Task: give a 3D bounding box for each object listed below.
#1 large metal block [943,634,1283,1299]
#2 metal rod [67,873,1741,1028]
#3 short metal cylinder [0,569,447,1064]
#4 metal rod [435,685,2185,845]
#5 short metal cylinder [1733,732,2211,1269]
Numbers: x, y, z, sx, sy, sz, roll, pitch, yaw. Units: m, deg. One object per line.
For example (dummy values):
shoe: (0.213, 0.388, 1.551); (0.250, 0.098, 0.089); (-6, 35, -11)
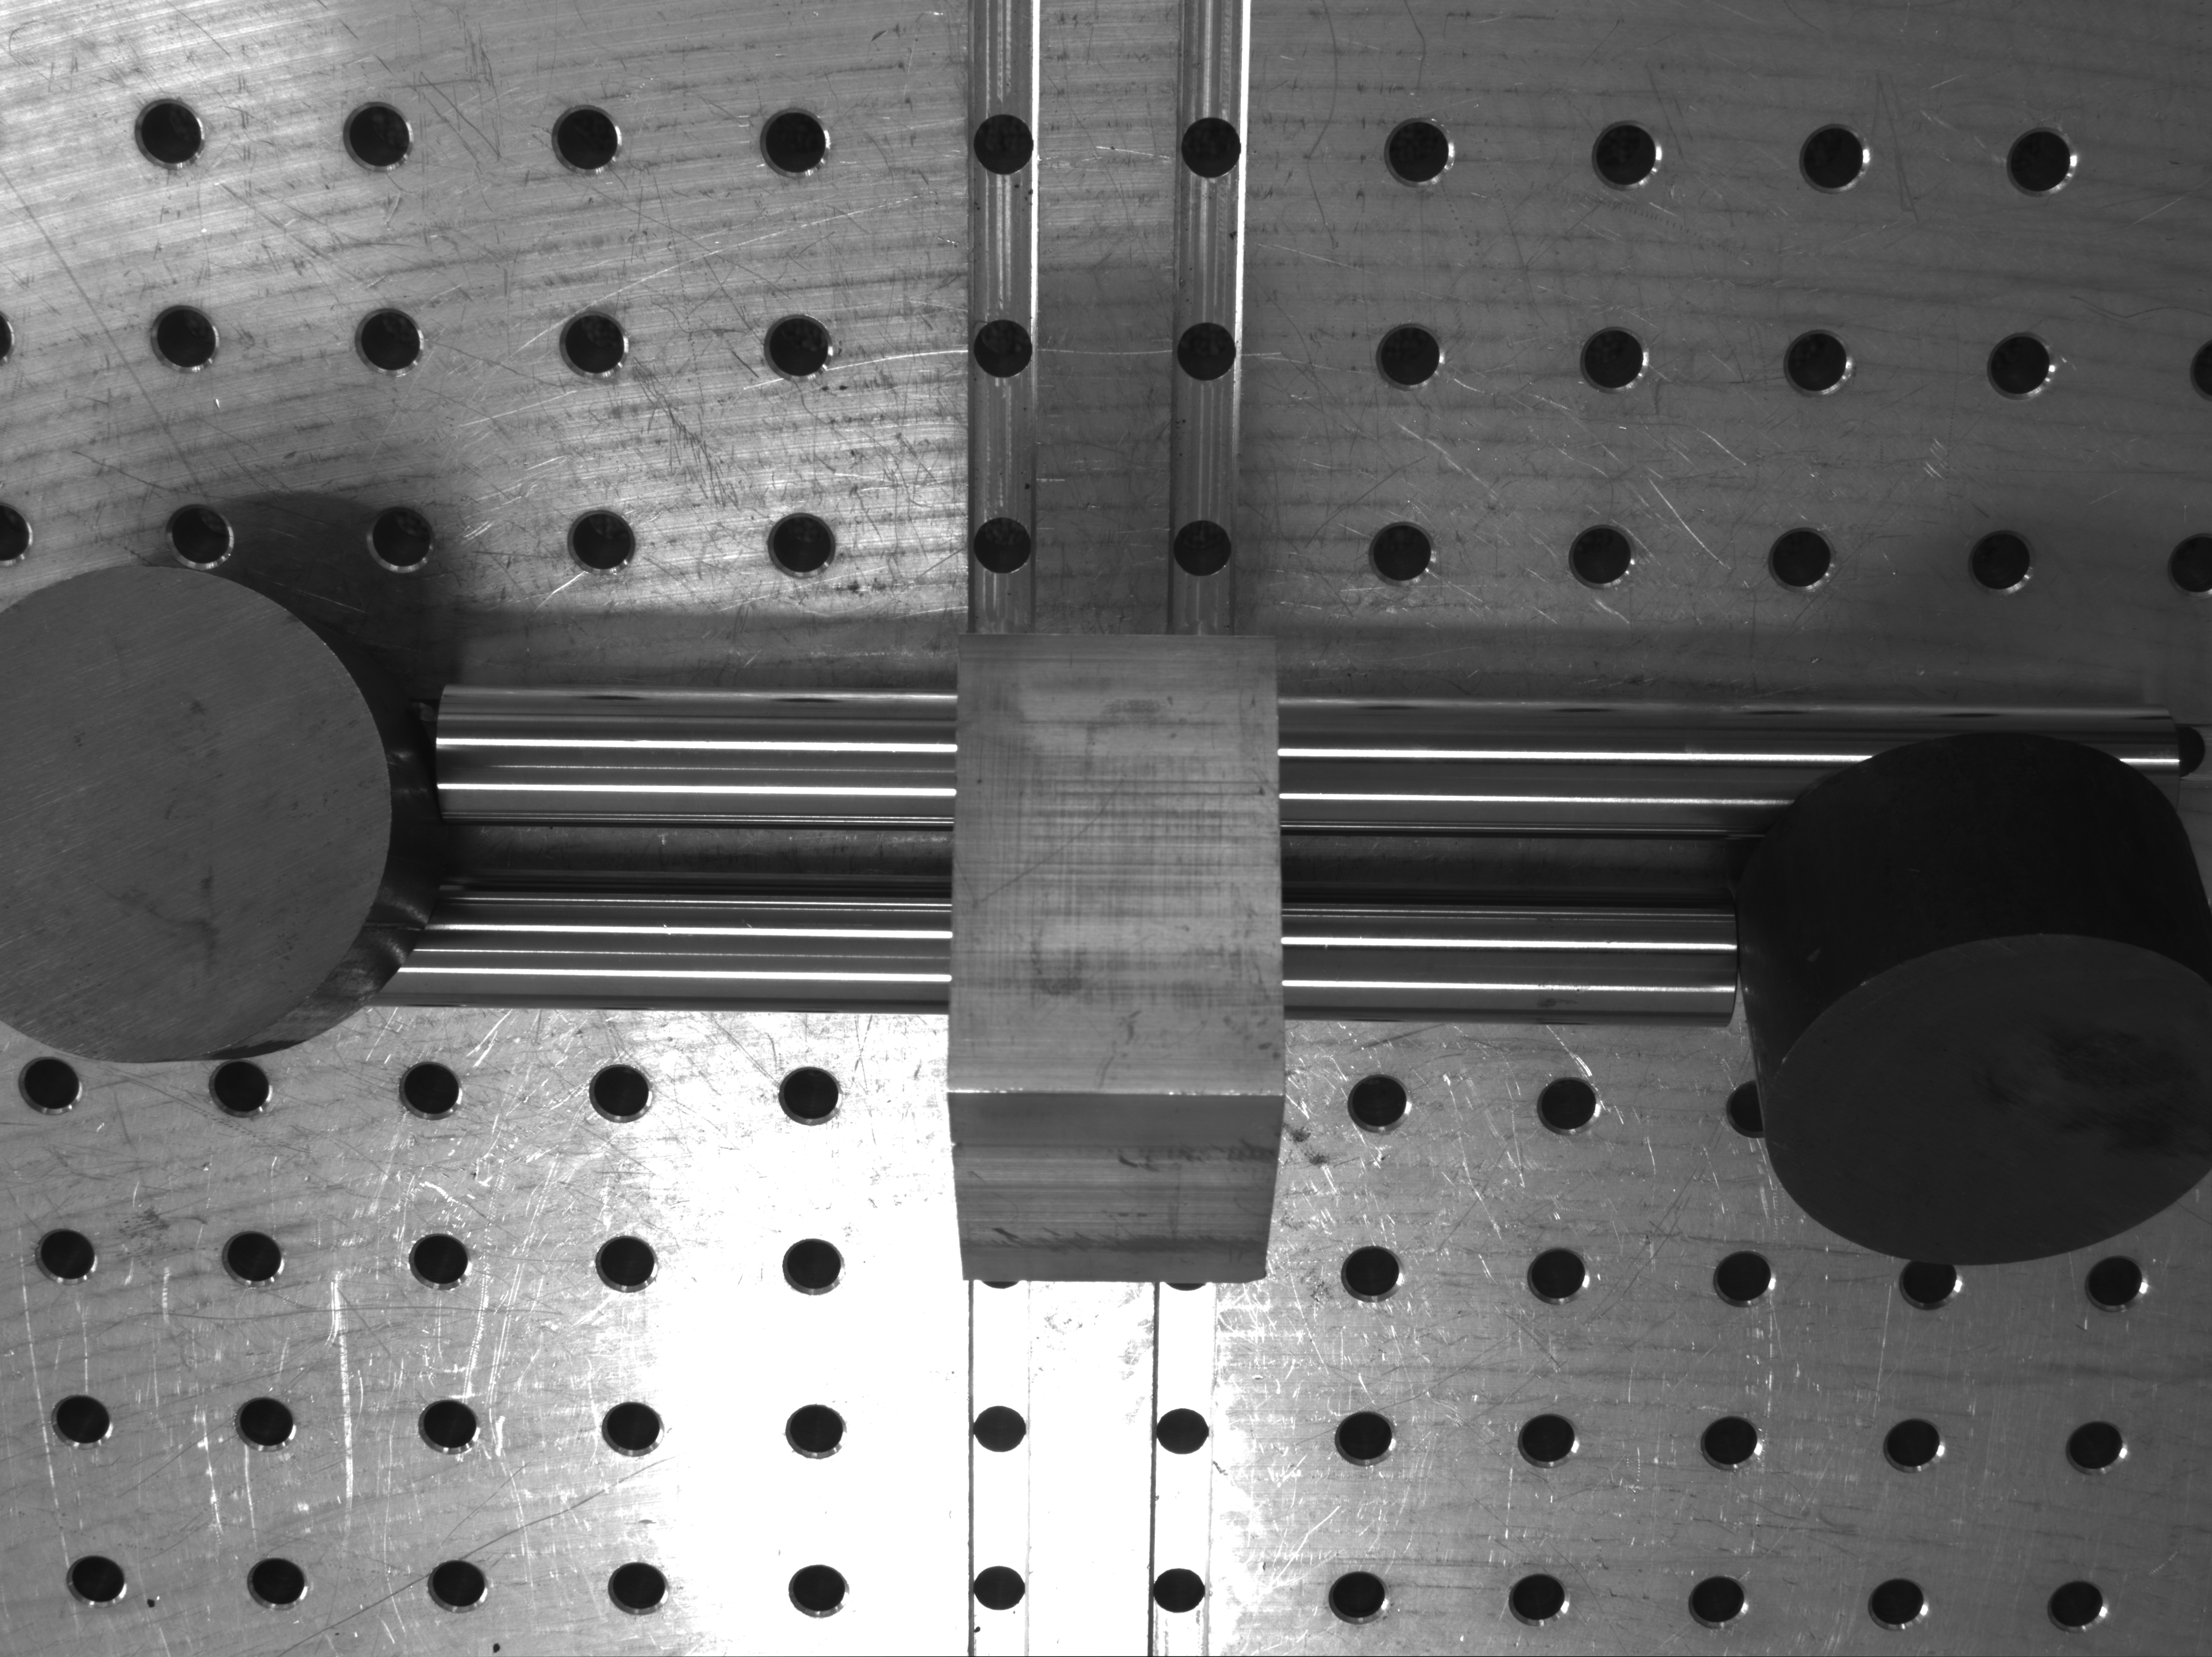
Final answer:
large metal block: (0.001, 0.024, 0.594); (0.050, 0.080, 0.080); (1, 152, 0)
metal rod: (-0.039, 0.021, 0.654); (0.300, 0.025, 0.025); (1, 110, 0)
short metal cylinder: (-0.155, -0.001, 0.618); (0.080, 0.050, 0.080); (0, 87, 0)
metal rod: (0.035, -0.011, 0.642); (0.300, 0.025, 0.025); (1, 110, 0)
short metal cylinder: (0.150, 0.030, 0.630); (0.080, 0.050, 0.080); (0, 132, 1)
